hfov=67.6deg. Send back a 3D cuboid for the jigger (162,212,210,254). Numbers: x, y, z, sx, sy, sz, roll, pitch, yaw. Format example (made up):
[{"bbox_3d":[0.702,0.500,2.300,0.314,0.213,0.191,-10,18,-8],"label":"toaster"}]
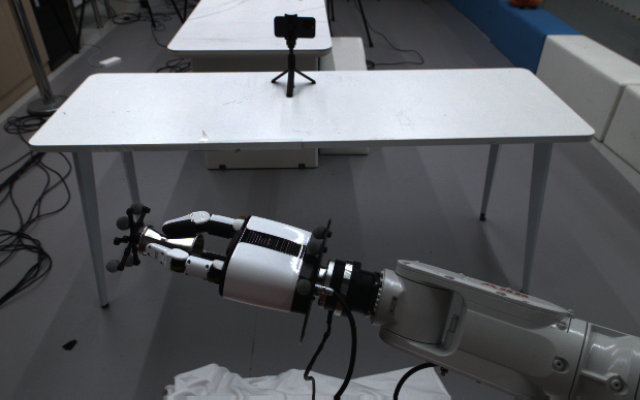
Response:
[{"bbox_3d":[-0.179,0.055,0.608,0.071,0.043,0.043,11,35,5],"label":"jigger"}]
